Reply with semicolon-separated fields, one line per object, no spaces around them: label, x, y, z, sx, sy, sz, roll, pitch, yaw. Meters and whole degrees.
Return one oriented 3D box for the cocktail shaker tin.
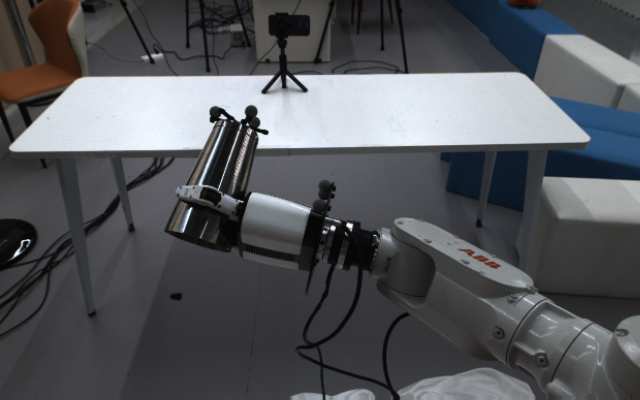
cocktail shaker tin;-0.143;-0.022;0.674;0.093;0.093;0.170;12;74;14
